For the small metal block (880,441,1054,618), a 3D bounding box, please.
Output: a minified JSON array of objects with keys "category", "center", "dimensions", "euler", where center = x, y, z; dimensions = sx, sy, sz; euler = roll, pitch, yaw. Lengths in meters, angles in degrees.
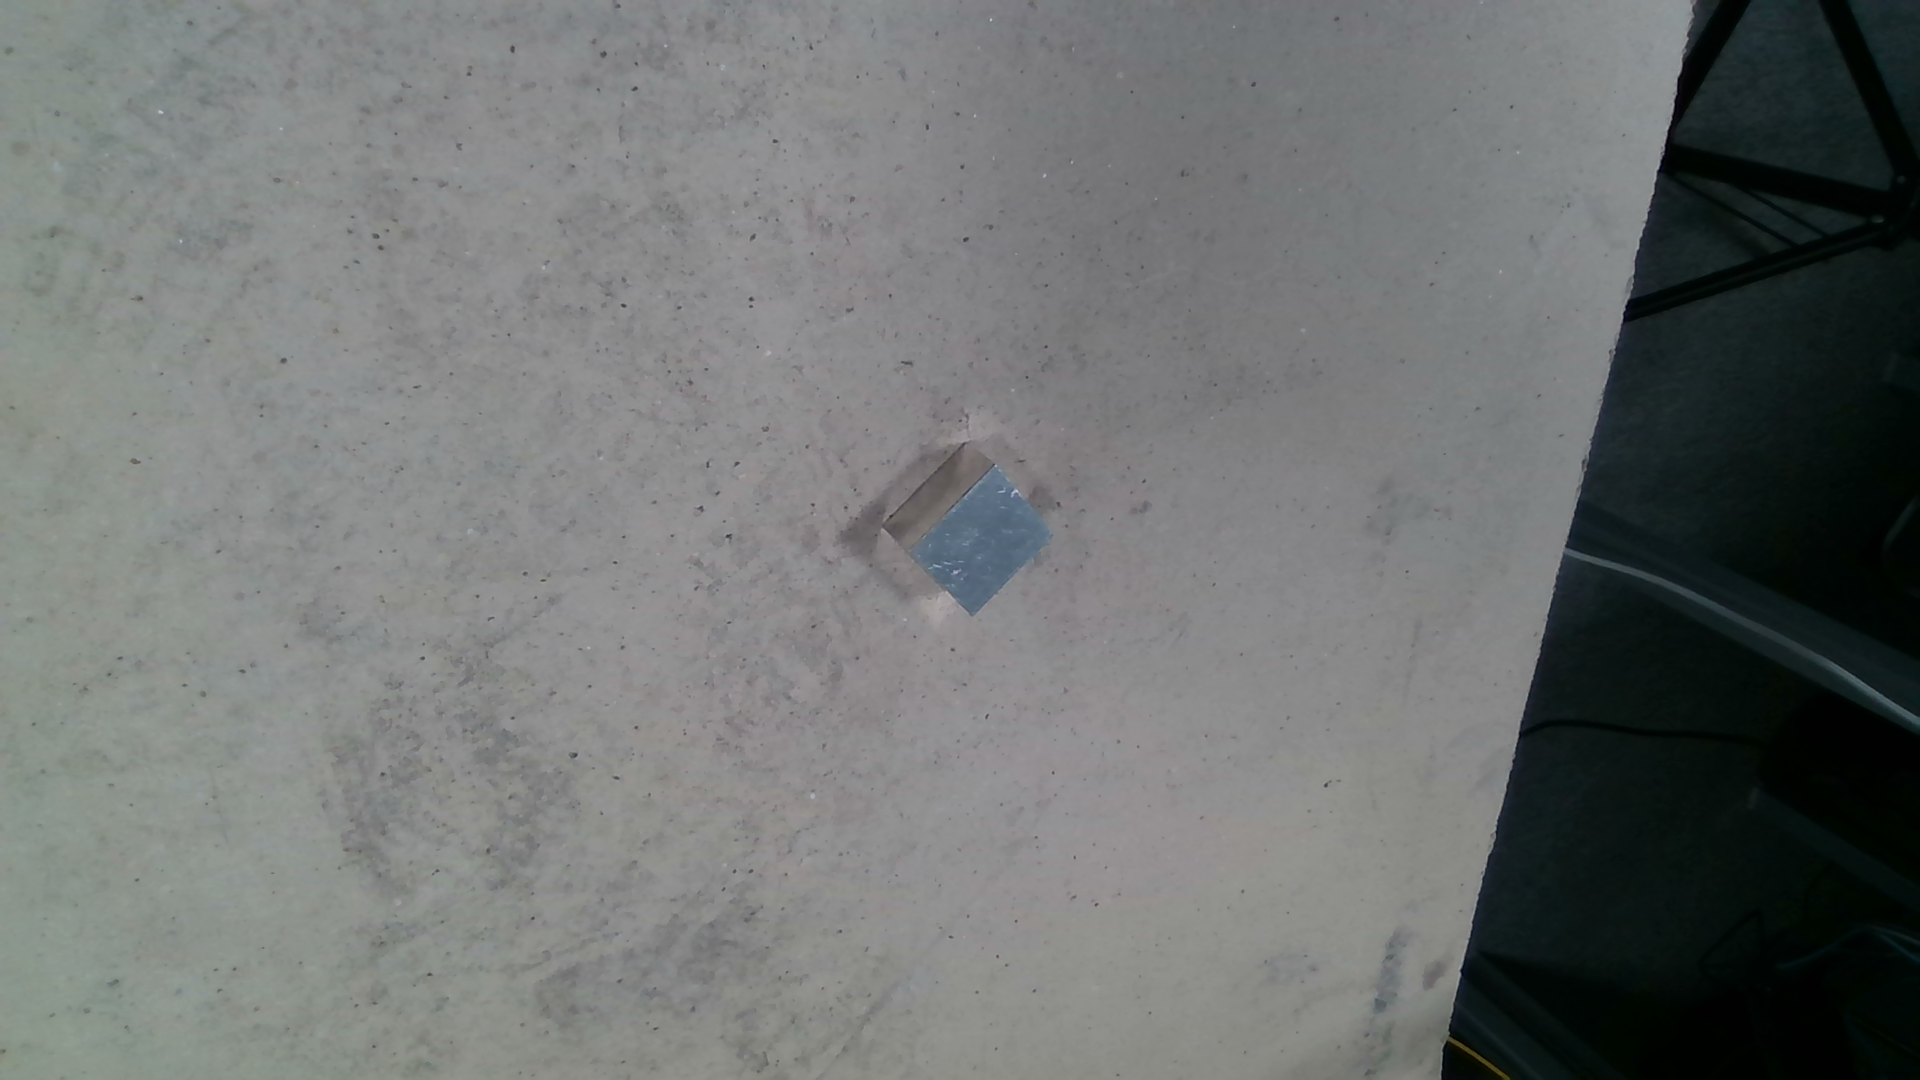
[{"category":"small metal block","center":[0.003,-0.004,0.581],"dimensions":[0.050,0.025,0.050],"euler":[-45,129,-3]}]
